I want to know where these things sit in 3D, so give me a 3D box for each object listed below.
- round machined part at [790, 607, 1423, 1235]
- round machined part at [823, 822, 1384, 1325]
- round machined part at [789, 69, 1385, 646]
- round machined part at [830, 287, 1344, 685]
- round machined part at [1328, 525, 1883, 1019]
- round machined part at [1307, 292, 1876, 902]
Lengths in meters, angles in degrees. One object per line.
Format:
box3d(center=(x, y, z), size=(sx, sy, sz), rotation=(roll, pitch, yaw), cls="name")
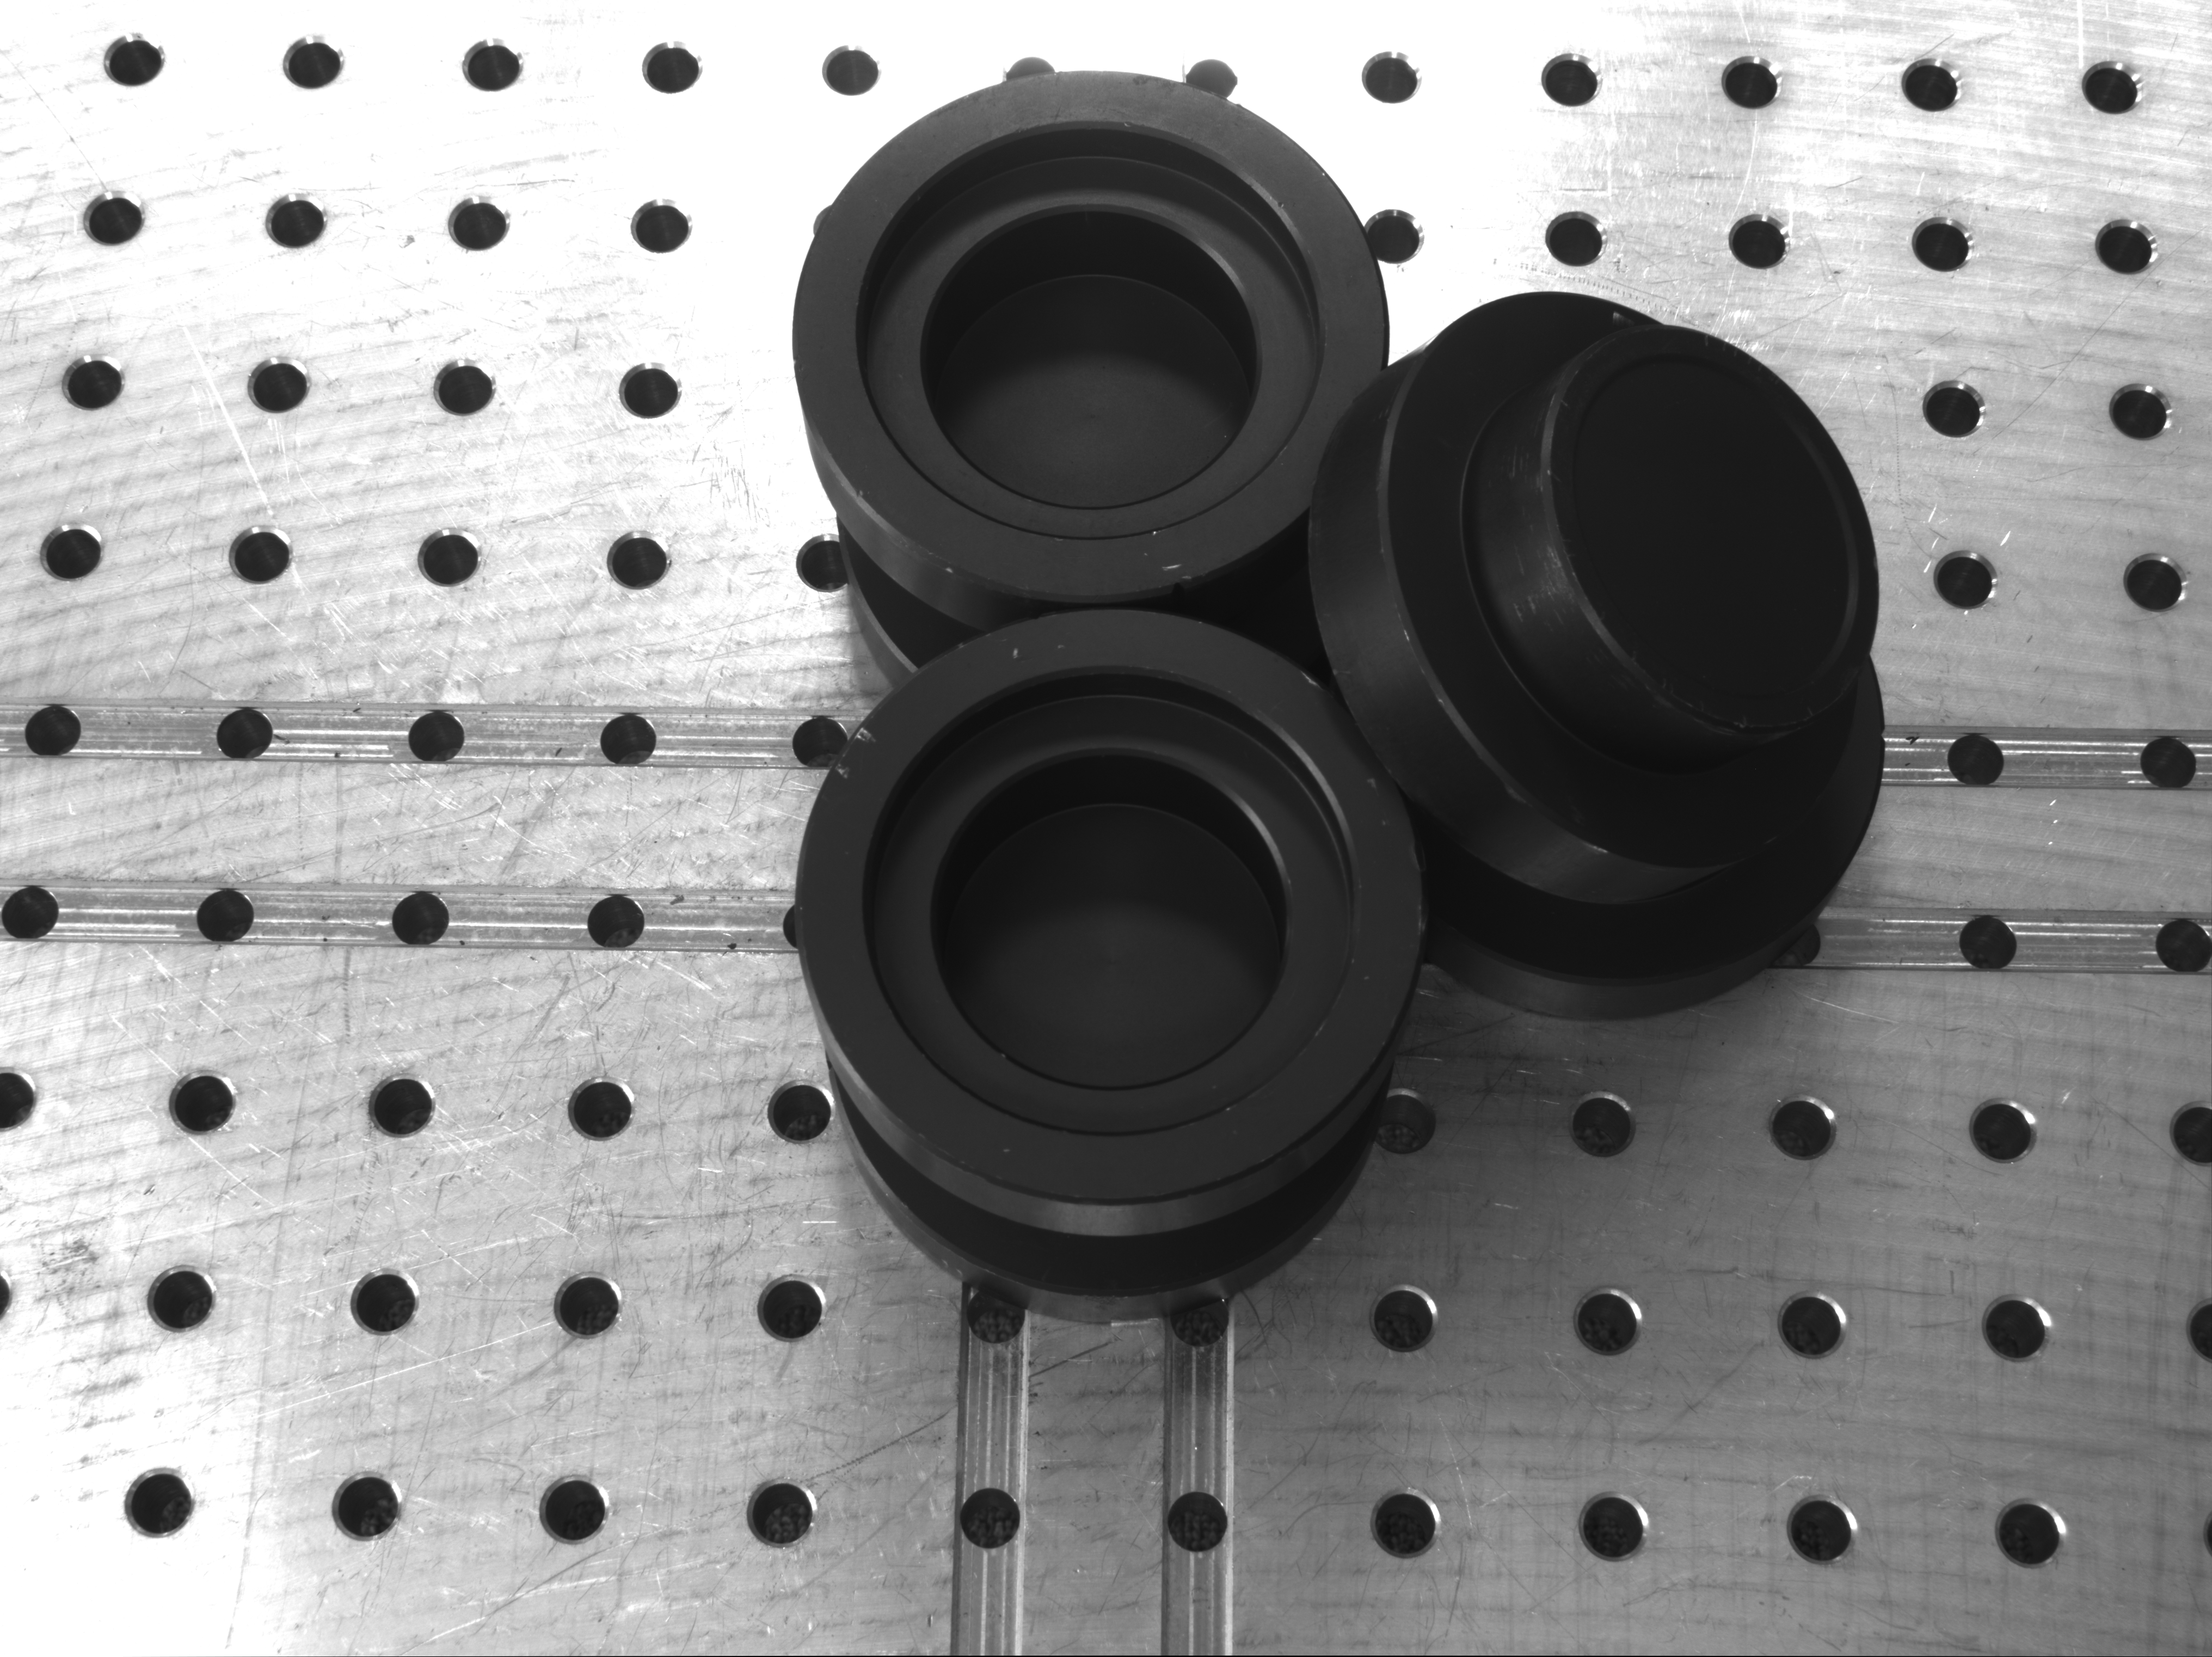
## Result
box3d(center=(0.000, 0.018, 0.587), size=(0.098, 0.042, 0.098), rotation=(0, 70, 0), cls="round machined part")
box3d(center=(0.000, 0.032, 0.628), size=(0.098, 0.042, 0.098), rotation=(0, 70, 0), cls="round machined part")
box3d(center=(-0.003, -0.075, 0.621), size=(0.098, 0.042, 0.098), rotation=(0, 70, 0), cls="round machined part")
box3d(center=(-0.001, -0.060, 0.662), size=(0.098, 0.042, 0.098), rotation=(0, 70, 0), cls="round machined part")
box3d(center=(0.088, -0.019, 0.646), size=(0.098, 0.042, 0.098), rotation=(0, 70, 0), cls="round machined part")
box3d(center=(0.084, -0.041, 0.586), size=(0.098, 0.042, 0.098), rotation=(13, 66, -30), cls="round machined part")
